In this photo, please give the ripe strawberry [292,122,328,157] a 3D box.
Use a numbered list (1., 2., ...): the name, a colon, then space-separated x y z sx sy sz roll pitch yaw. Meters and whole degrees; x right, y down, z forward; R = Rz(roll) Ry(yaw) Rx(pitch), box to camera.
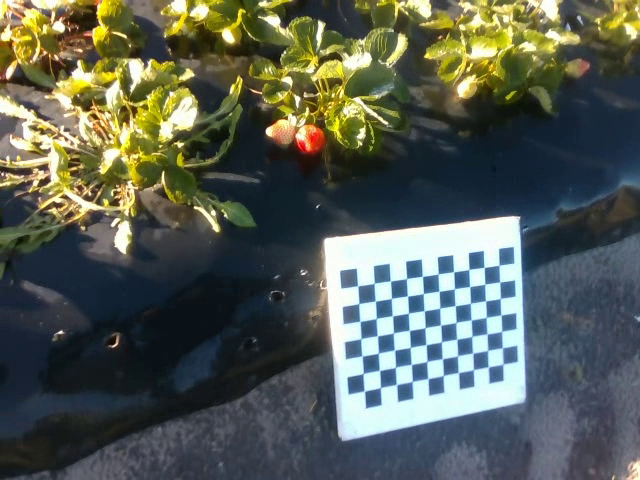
1. ripe strawberry: -0.012 -0.119 0.682 0.040 0.038 0.056 -20 14 13
